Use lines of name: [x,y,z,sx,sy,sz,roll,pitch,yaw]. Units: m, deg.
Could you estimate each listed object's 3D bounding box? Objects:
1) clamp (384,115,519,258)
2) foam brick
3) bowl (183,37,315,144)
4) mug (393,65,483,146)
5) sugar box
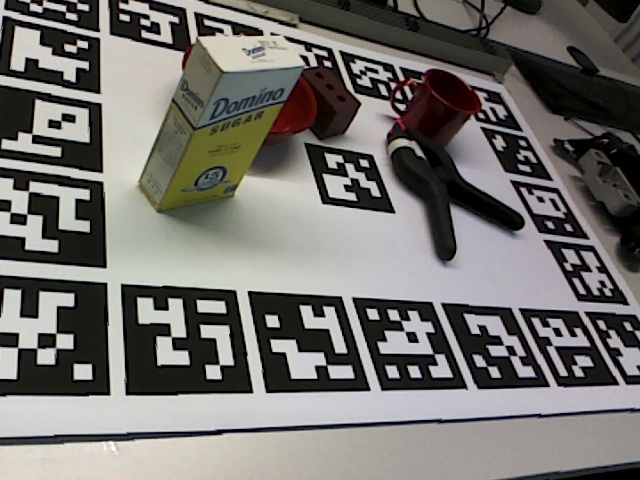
clamp: [0.149,-0.080,0.800,0.164,0.037,0.203,-19,66,-38]
foam brick: [0.004,-0.171,0.797,0.052,0.051,0.078,-23,69,-41]
bowl: [-0.089,-0.164,0.723,0.161,0.055,0.162,17,46,-19]
mug: [0.157,-0.190,0.874,0.117,0.081,0.093,28,44,-12]
sugar box: [-0.099,-0.099,0.573,0.092,0.177,0.045,-20,68,-42]
